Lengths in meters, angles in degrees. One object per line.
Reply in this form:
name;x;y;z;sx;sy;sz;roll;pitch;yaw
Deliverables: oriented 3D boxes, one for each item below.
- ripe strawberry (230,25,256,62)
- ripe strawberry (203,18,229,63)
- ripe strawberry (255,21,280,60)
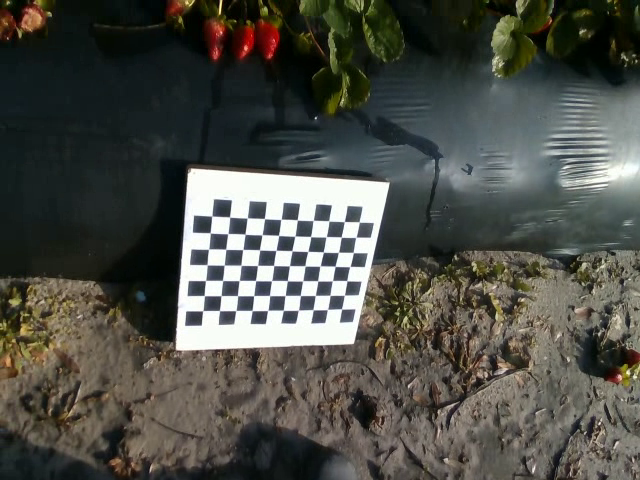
ripe strawberry;-0.079;-0.211;0.805;0.030;0.039;0.037;12;-46;-25
ripe strawberry;-0.108;-0.213;0.801;0.031;0.046;0.023;1;8;-21
ripe strawberry;-0.054;-0.212;0.819;0.035;0.041;0.034;-3;-27;-19
